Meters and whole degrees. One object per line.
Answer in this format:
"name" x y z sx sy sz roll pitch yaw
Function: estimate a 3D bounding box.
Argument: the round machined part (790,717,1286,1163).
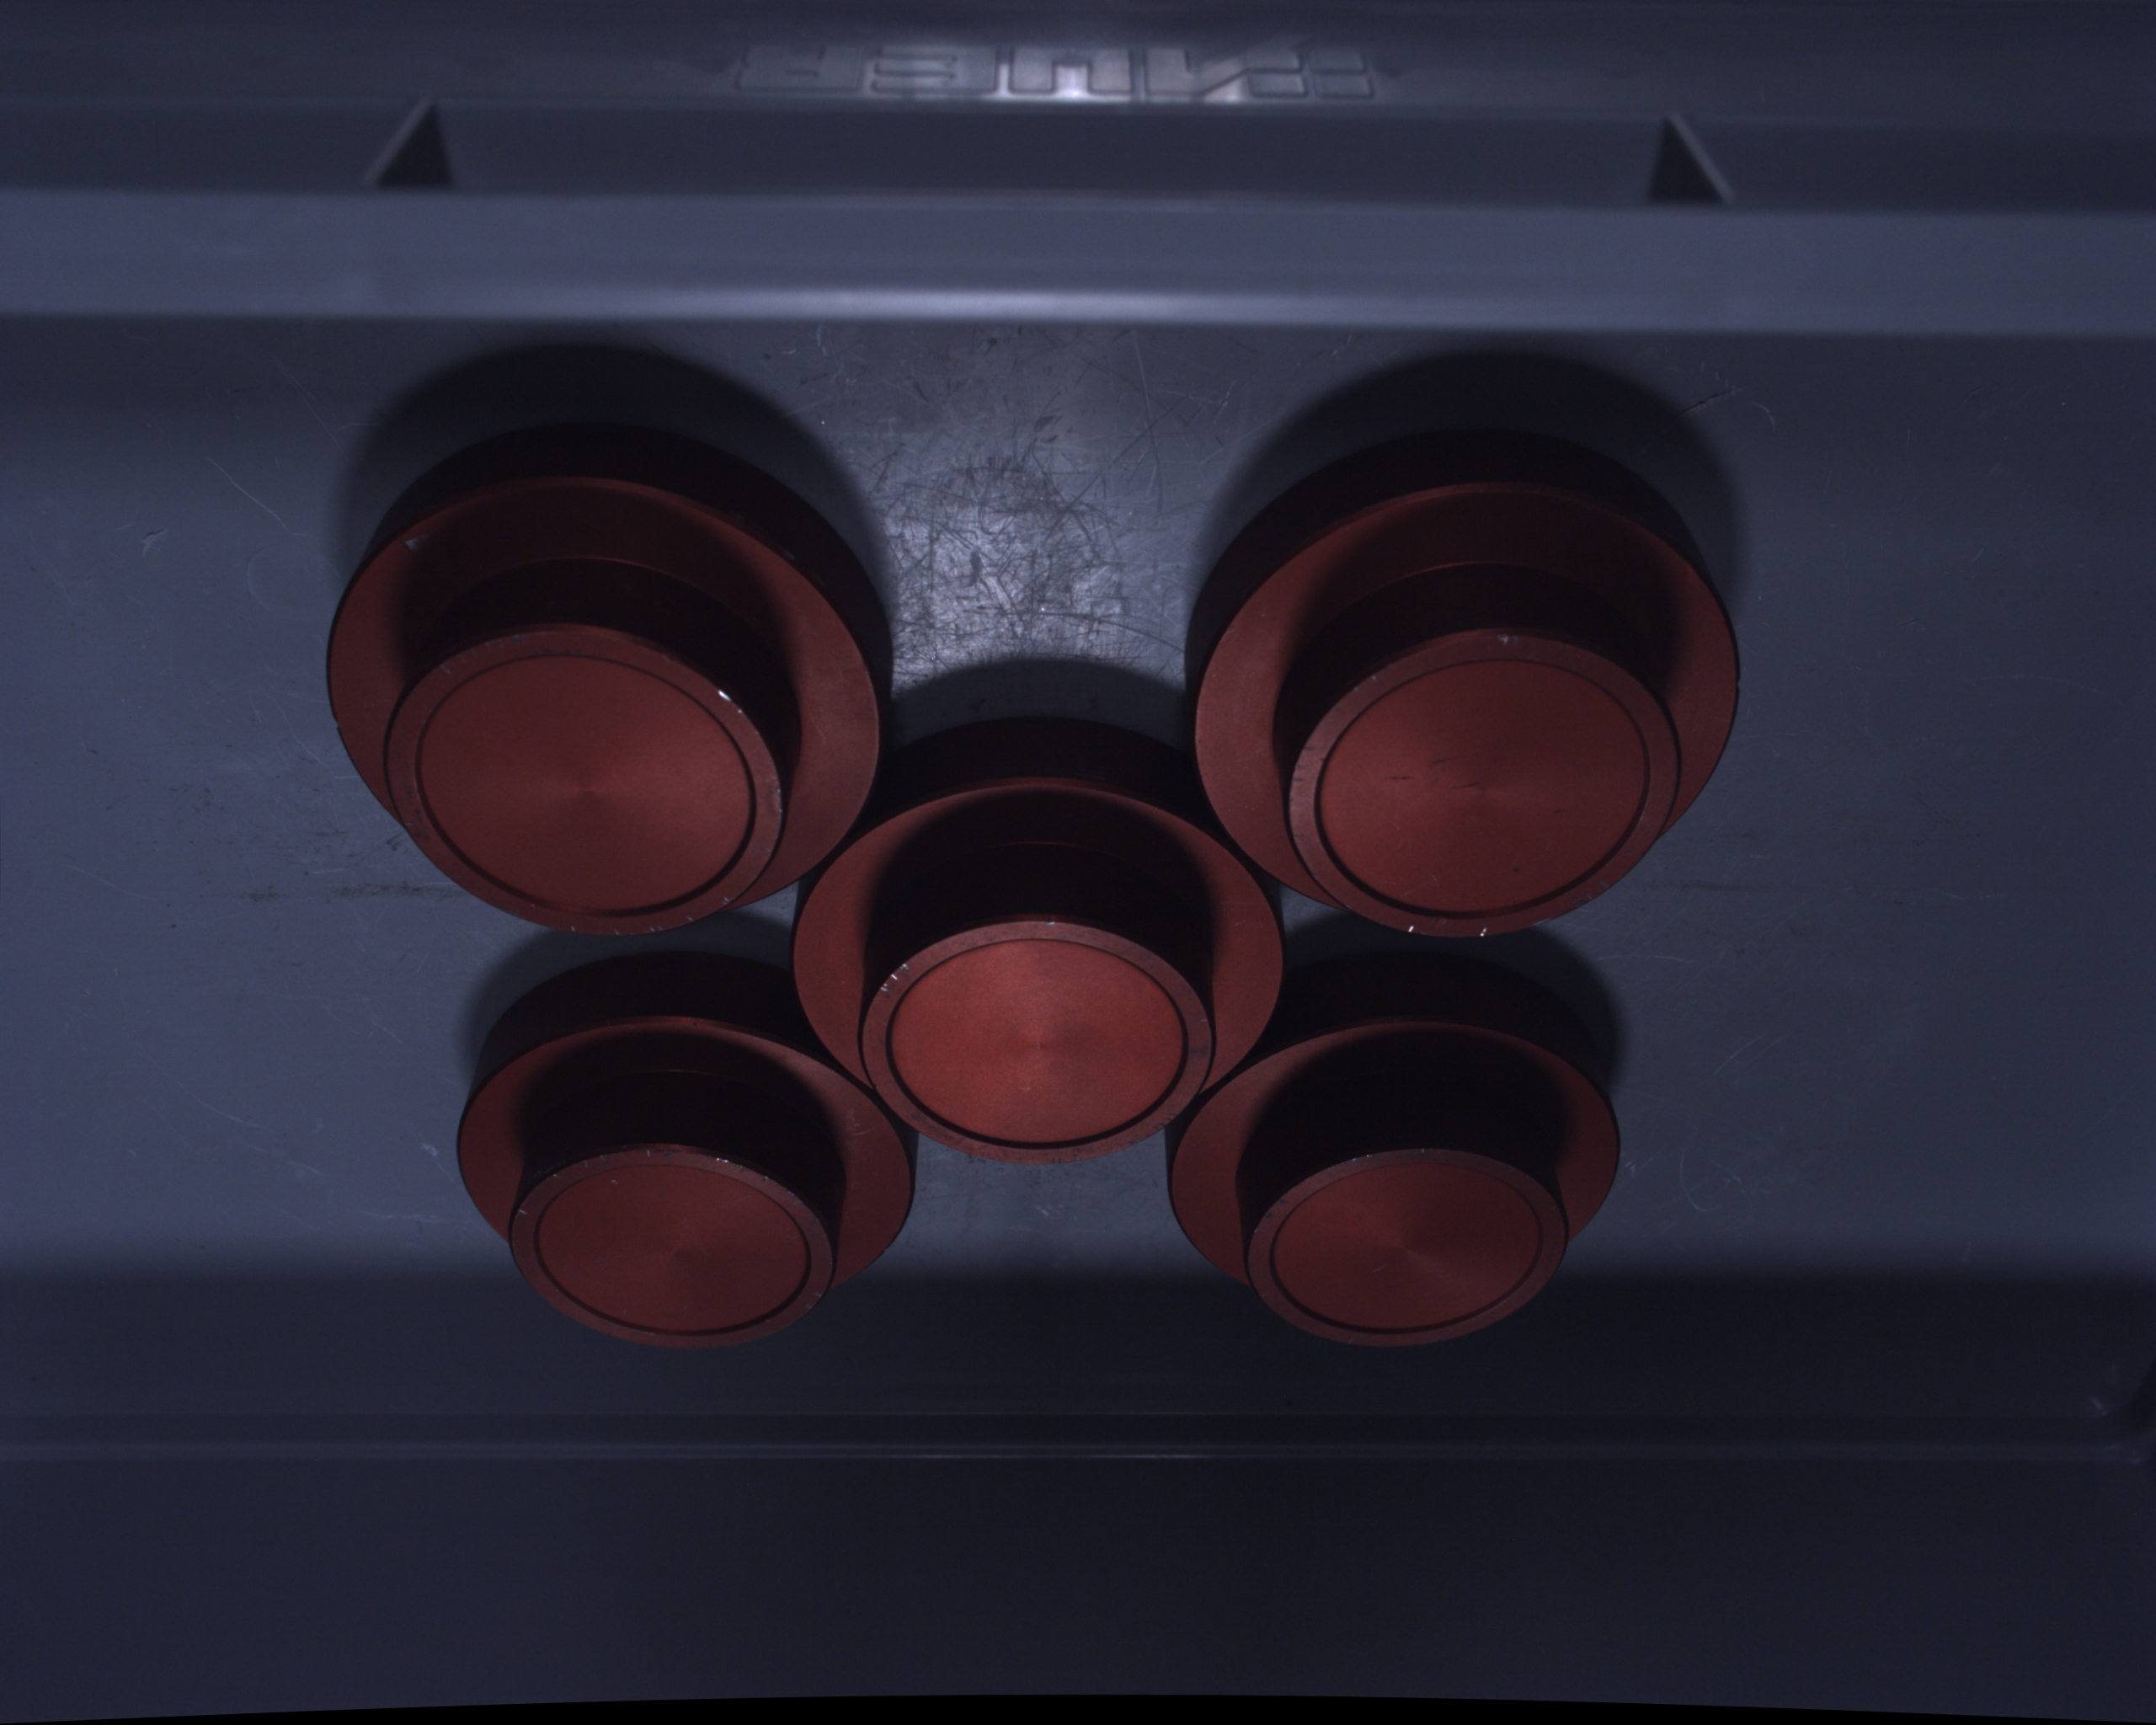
"round machined part" -0.008 0.022 0.414 0.099 0.042 0.097 -1 130 0

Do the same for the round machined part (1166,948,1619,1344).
"round machined part" 0.069 0.068 0.455 0.099 0.042 0.097 -1 130 0

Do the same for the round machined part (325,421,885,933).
"round machined part" -0.084 -0.026 0.373 0.099 0.042 0.097 -1 130 0

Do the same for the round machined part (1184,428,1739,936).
"round machined part" 0.069 -0.025 0.376 0.099 0.042 0.097 -1 130 0

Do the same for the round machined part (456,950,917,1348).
"round machined part" -0.085 0.068 0.453 0.099 0.042 0.097 -1 130 0
